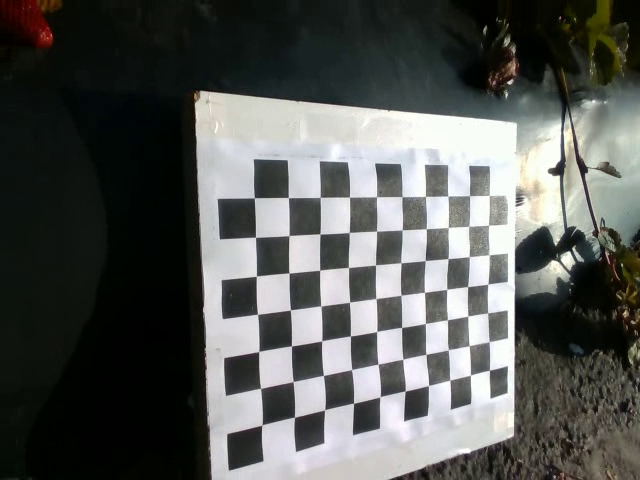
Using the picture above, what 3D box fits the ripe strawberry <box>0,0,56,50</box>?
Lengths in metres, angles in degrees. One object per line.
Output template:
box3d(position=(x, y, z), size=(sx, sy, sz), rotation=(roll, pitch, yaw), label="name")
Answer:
box3d(position=(-0.154, -0.107, 0.316), size=(0.056, 0.041, 0.041), rotation=(29, -17, 14), label="ripe strawberry")
